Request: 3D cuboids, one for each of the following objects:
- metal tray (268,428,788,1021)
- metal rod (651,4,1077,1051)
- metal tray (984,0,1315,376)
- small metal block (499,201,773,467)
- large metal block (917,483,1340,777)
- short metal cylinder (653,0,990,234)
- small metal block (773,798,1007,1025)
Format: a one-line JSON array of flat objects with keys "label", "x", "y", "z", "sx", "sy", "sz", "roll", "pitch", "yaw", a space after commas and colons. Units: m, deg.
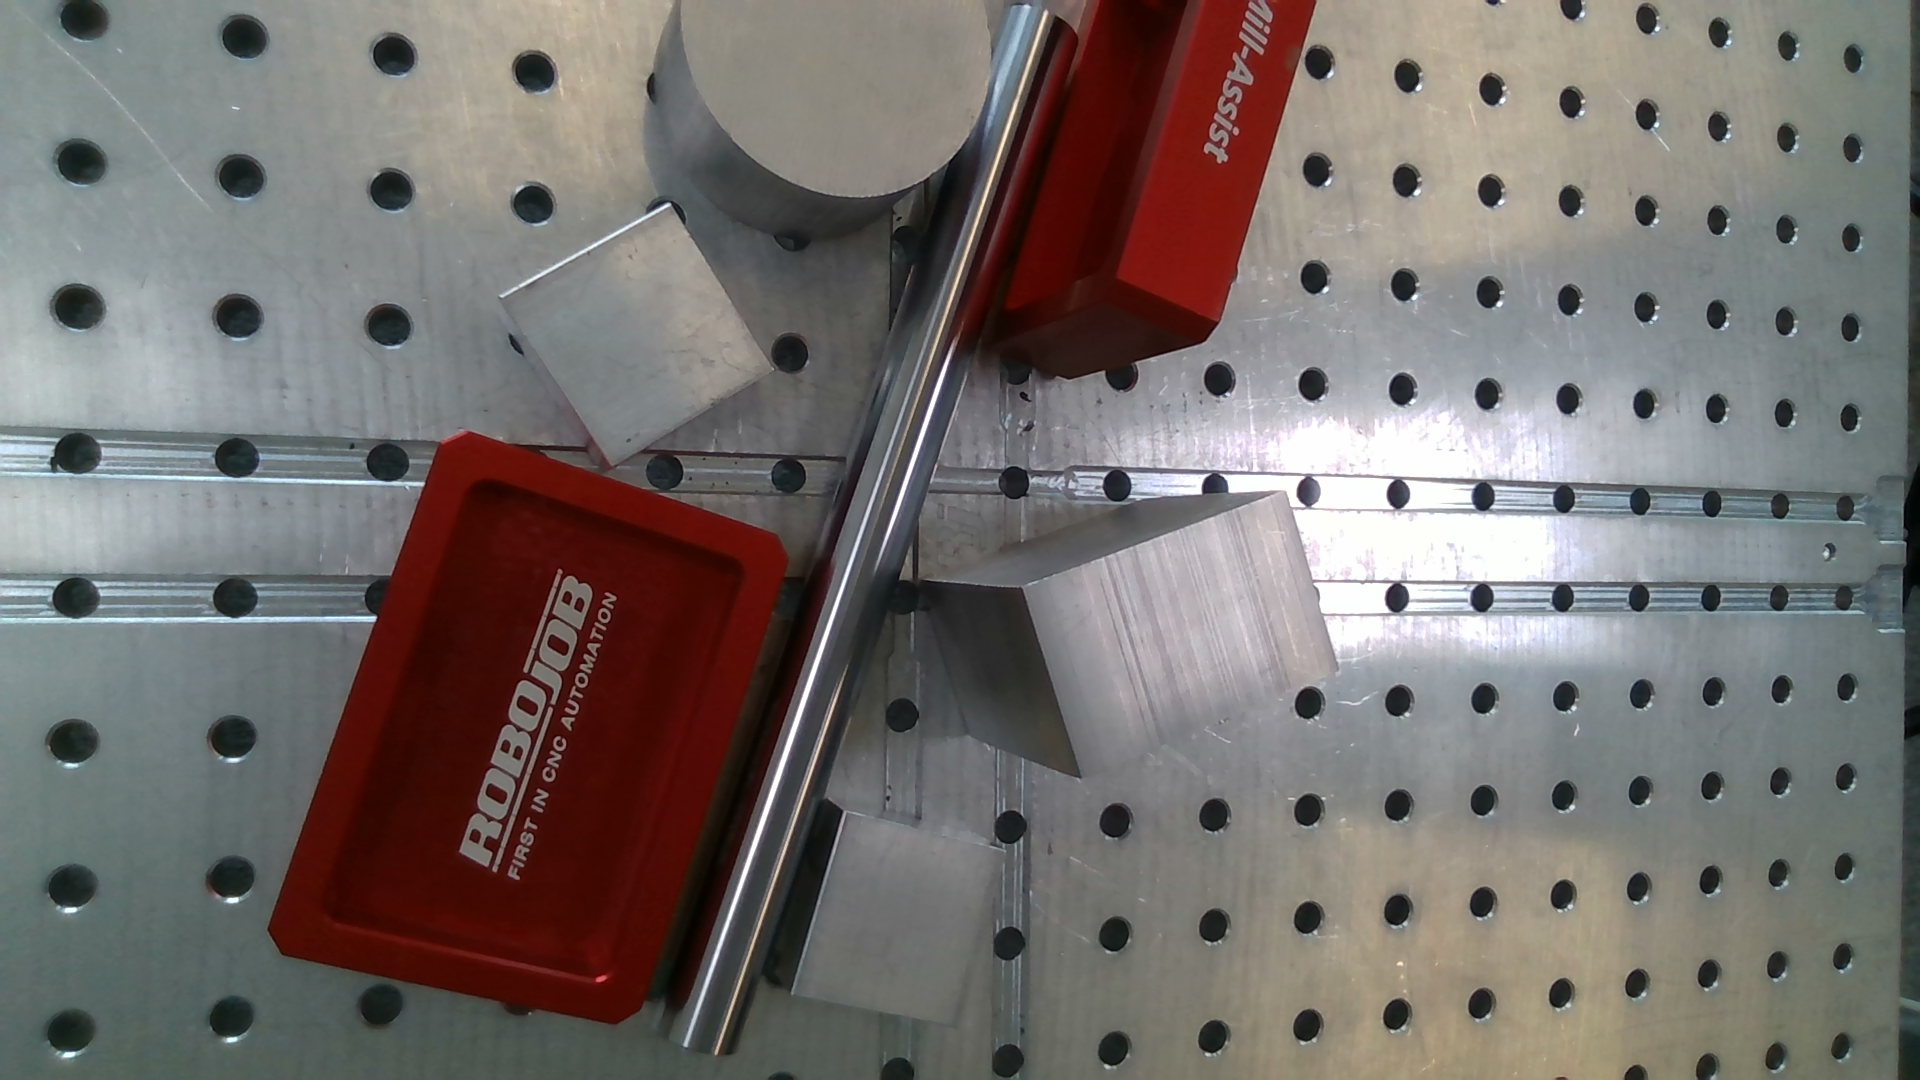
[{"label": "metal tray", "x": -0.108, "y": 0.047, "z": 0.354, "sx": 0.090, "sy": 0.030, "sz": 0.130, "roll": 19, "pitch": 84, "yaw": -19}, {"label": "metal rod", "x": -0.024, "y": -0.009, "z": 0.387, "sx": 0.025, "sy": 0.025, "sz": 0.300, "roll": 21, "pitch": 83, "yaw": -19}, {"label": "metal tray", "x": 0.053, "y": -0.116, "z": 0.380, "sx": 0.030, "sy": 0.090, "sz": 0.130, "roll": 20, "pitch": 83, "yaw": -19}, {"label": "small metal block", "x": -0.086, "y": -0.053, "z": 0.365, "sx": 0.050, "sy": 0.025, "sz": 0.050, "roll": -34, "pitch": 101, "yaw": -17}, {"label": "large metal block", "x": 0.043, "y": 0.022, "z": 0.385, "sx": 0.080, "sy": 0.080, "sz": 0.050, "roll": -20, "pitch": 97, "yaw": -19}, {"label": "short metal cylinder", "x": -0.038, "y": -0.127, "z": 0.368, "sx": 0.080, "sy": 0.050, "sz": 0.080, "roll": 0, "pitch": 90, "yaw": -20}, {"label": "small metal block", "x": -0.020, "y": 0.104, "z": 0.389, "sx": 0.050, "sy": 0.025, "sz": 0.050, "roll": 18, "pitch": 84, "yaw": -19}]
